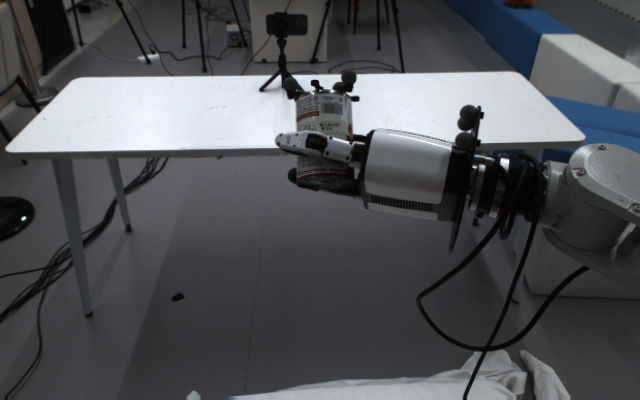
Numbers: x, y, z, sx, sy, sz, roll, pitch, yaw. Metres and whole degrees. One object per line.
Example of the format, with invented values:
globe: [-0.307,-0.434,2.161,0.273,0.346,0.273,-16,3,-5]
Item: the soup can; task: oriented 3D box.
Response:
soup can: [0.007,-0.067,0.557,0.067,0.101,0.067,-1,-9,0]
